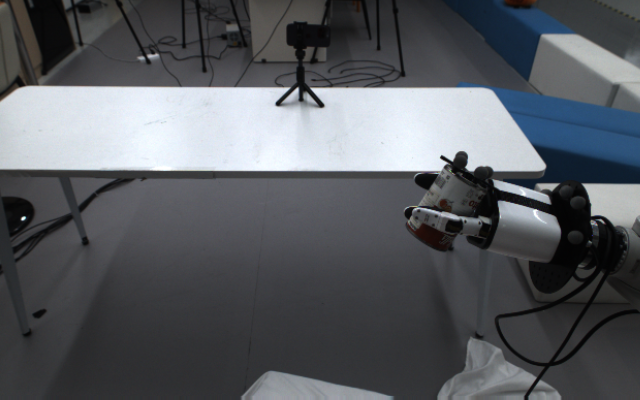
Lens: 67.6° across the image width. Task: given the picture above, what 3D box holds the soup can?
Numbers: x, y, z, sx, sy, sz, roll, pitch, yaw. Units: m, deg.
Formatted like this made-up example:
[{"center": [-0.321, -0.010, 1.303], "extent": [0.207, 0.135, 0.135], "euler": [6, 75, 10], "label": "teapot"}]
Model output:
[{"center": [0.173, 0.011, 0.662], "extent": [0.067, 0.101, 0.067], "euler": [27, 18, -9], "label": "soup can"}]
